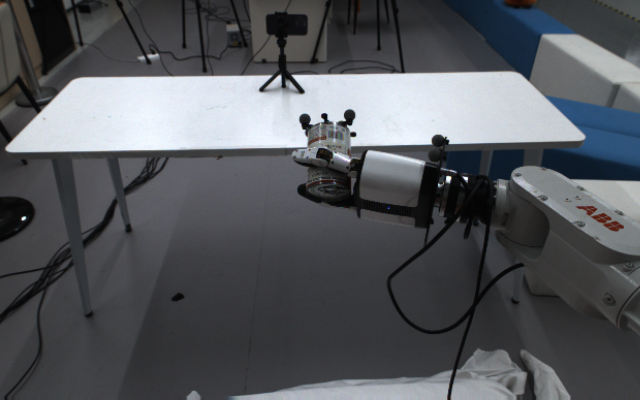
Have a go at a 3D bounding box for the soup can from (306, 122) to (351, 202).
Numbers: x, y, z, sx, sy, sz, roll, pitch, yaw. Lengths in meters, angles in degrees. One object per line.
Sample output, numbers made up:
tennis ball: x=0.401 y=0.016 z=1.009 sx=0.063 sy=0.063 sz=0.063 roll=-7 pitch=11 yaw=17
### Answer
soup can: x=0.014 y=-0.057 z=0.718 sx=0.067 sy=0.067 sz=0.101 roll=1 pitch=68 yaw=-1
